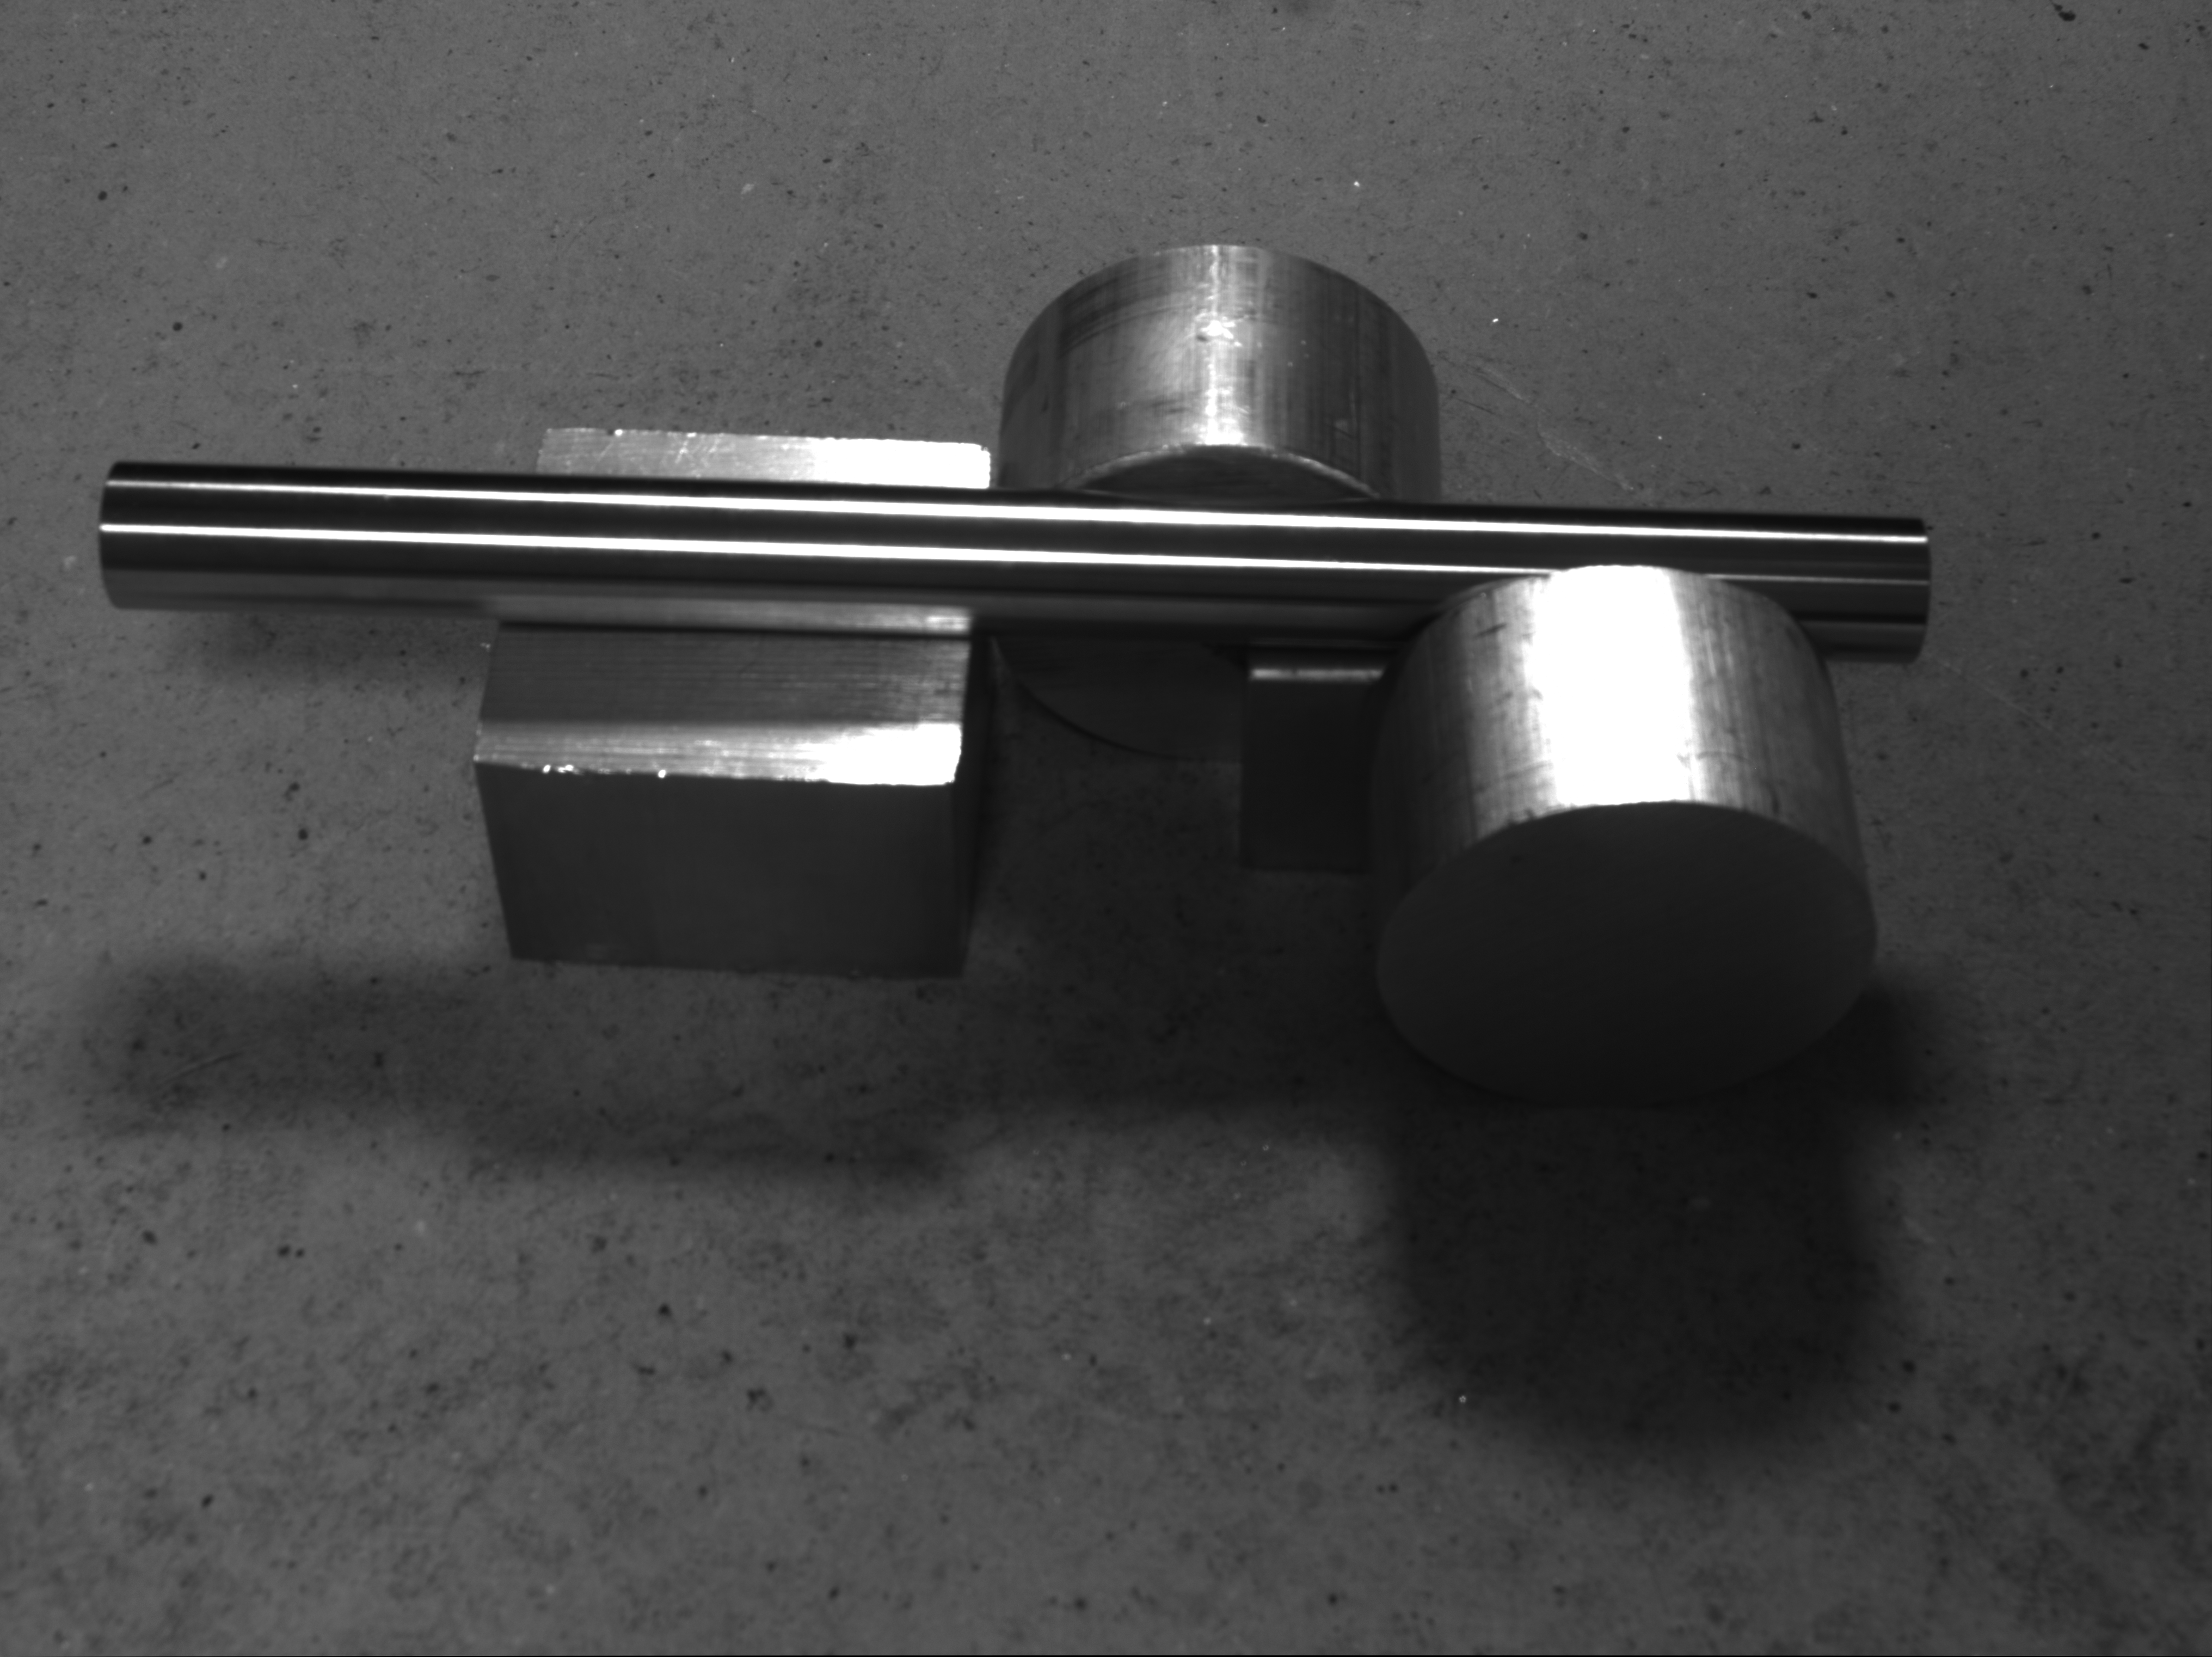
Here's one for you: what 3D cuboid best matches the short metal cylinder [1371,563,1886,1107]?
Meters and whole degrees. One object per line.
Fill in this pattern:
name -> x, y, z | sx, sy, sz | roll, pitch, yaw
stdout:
short metal cylinder -> 0.085, 0.002, 0.604 | 0.080, 0.080, 0.050 | 0, 50, 0

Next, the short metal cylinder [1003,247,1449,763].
short metal cylinder -> 0.021, -0.057, 0.655 | 0.080, 0.080, 0.050 | 2, 50, 2

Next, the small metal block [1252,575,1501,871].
small metal block -> 0.051, -0.018, 0.640 | 0.050, 0.050, 0.025 | 1, 50, 1

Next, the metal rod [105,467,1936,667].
metal rod -> -0.014, -0.044, 0.612 | 0.300, 0.025, 0.025 | 2, 50, 0

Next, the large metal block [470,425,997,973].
large metal block -> -0.062, -0.023, 0.641 | 0.080, 0.050, 0.080 | 2, 50, 2
